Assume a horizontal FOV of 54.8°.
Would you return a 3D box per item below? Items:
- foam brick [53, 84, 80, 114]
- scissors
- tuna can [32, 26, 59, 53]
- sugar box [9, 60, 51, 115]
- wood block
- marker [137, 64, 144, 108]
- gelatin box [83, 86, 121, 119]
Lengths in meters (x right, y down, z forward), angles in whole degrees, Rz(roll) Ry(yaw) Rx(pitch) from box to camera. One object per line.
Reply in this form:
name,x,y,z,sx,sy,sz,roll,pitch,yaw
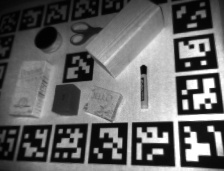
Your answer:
foam brick,-0.129,0.041,0.620,0.052,0.052,0.078,-3,72,20
scissors,-0.059,-0.174,0.693,0.201,0.016,0.087,2,73,23
tuna can,-0.226,-0.156,0.734,0.085,0.034,0.085,-6,71,18
sugar box,-0.257,0.006,0.688,0.092,0.046,0.176,0,72,19
wood block,0.036,-0.135,0.607,0.206,0.092,0.089,-47,62,-1
marker,0.078,-0.001,0.580,0.019,0.020,0.121,-3,73,20
gelatin box,-0.027,0.045,0.598,0.088,0.030,0.073,15,78,24
